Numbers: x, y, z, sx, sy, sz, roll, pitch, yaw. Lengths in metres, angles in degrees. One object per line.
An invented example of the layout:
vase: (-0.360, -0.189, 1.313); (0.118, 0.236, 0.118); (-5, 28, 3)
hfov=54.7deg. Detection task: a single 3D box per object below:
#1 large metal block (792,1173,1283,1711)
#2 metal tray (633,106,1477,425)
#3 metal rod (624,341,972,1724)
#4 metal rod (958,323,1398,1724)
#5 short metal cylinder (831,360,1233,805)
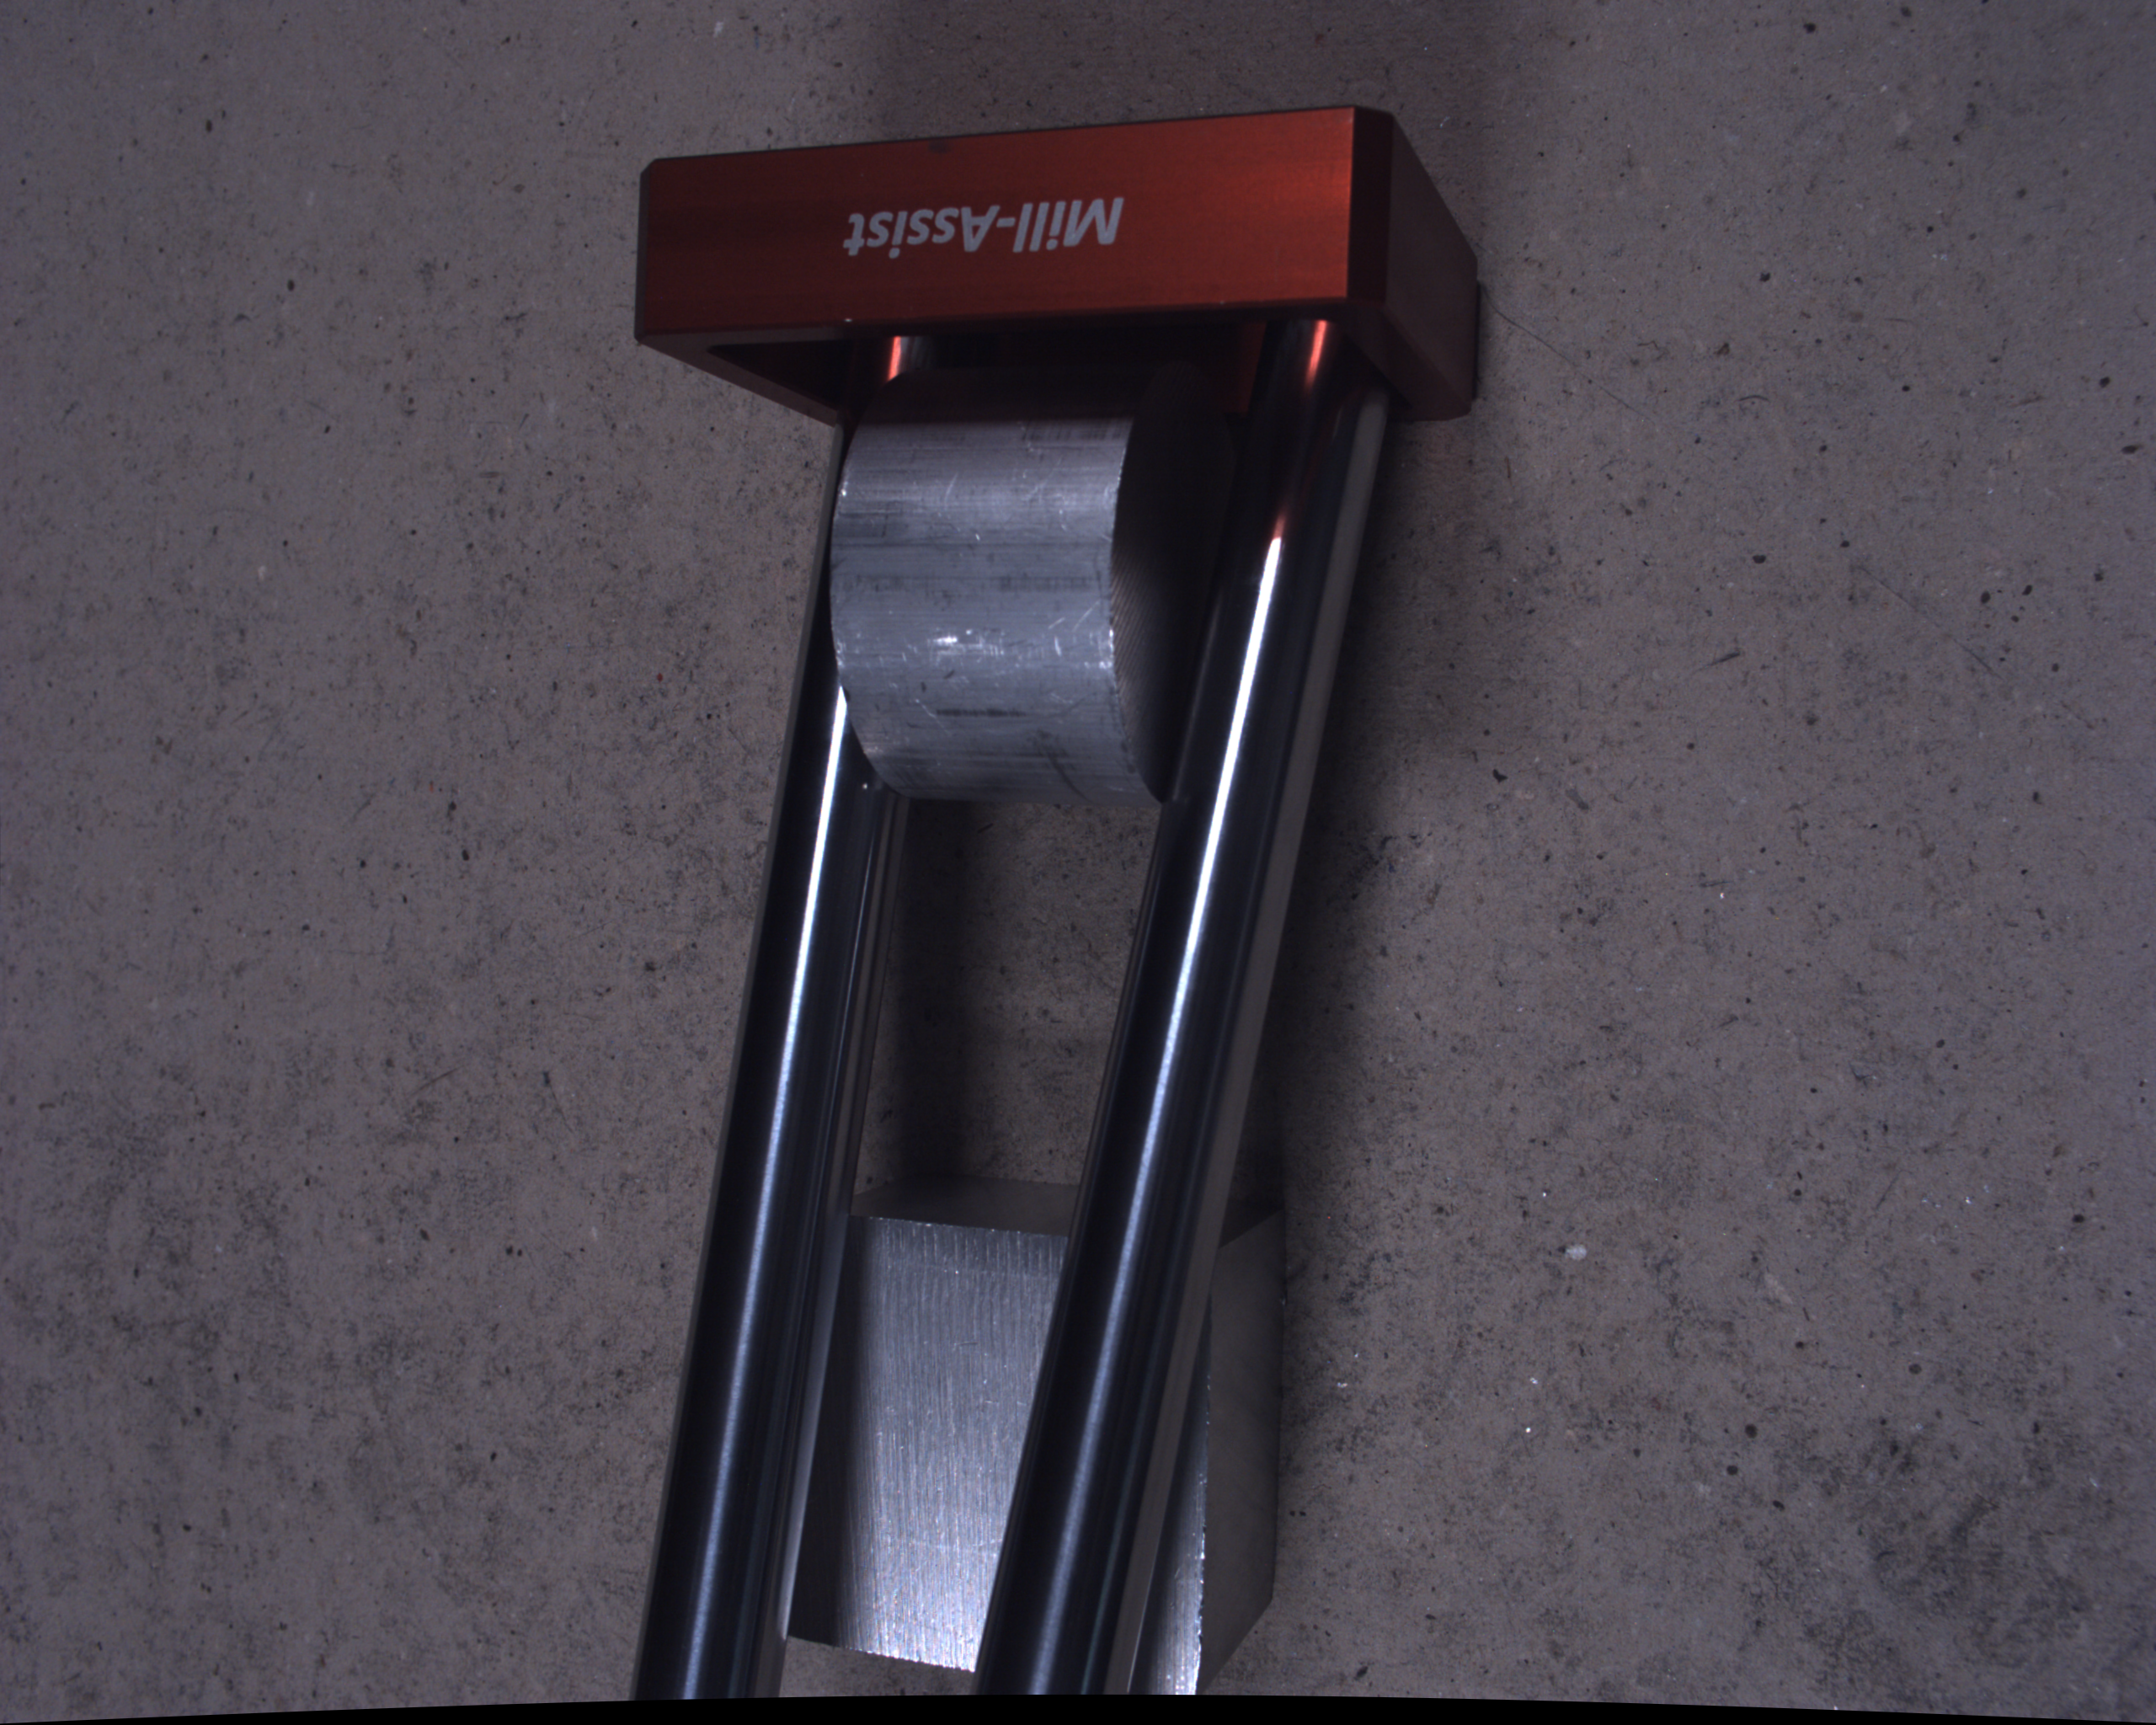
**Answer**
large metal block: (-0.008, 0.105, 0.396); (0.080, 0.050, 0.079); (2, 91, 19)
metal tray: (-0.001, -0.102, 0.375); (0.130, 0.090, 0.030); (3, 91, 19)
metal rod: (-0.051, 0.042, 0.379); (0.025, 0.025, 0.299); (2, 76, 19)
metal rod: (0.015, 0.046, 0.355); (0.025, 0.025, 0.299); (9, 78, 19)
short metal cylinder: (-0.005, -0.050, 0.382); (0.050, 0.080, 0.079); (2, 91, 19)
